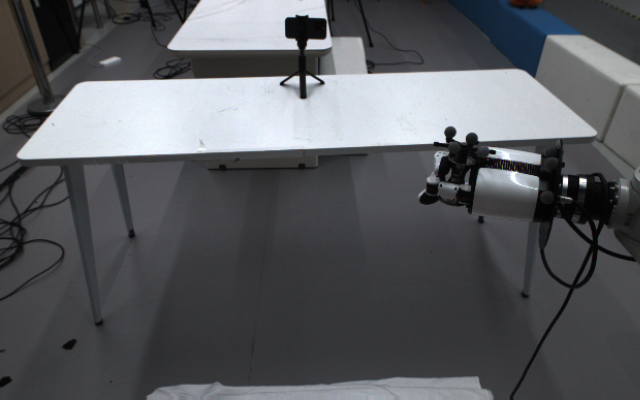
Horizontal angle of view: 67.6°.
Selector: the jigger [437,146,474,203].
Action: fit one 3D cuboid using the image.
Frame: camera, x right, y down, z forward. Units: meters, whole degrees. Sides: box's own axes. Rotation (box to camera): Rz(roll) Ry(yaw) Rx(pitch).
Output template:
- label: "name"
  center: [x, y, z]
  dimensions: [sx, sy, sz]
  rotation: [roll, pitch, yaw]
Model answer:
- label: "jigger"
  center: [0.207, -0.031, 0.730]
  dimensions: [0.043, 0.071, 0.043]
  rotation: [6, 26, -3]
